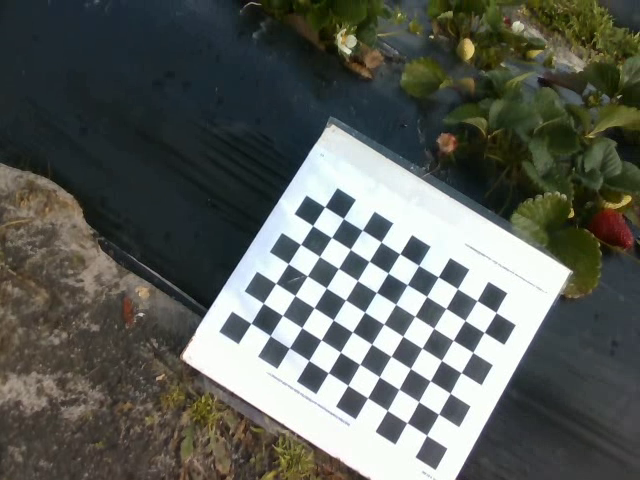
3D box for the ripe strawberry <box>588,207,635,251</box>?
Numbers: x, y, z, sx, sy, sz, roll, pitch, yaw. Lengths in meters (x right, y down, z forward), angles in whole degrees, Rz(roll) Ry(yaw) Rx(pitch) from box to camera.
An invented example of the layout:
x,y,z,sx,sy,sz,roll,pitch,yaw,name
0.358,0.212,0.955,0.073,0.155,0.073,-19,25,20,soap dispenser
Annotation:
x,y,z,sx,sy,sz,roll,pitch,yaw,name
0.317,-0.016,0.588,0.050,0.064,0.043,-25,-6,-5,ripe strawberry
